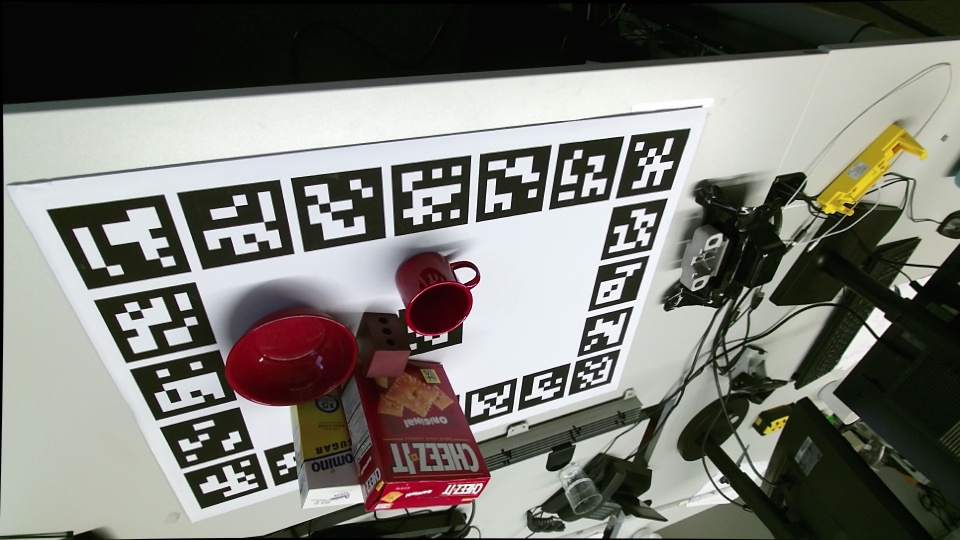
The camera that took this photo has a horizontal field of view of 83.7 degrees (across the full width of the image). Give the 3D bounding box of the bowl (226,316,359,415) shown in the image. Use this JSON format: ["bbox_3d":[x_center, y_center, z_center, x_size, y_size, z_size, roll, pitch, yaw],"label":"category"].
[{"bbox_3d":[-0.242,0.113,0.687,0.162,0.055,0.162,-14,129,-18],"label":"bowl"}]

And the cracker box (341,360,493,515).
[{"bbox_3d":[-0.096,0.232,0.764,0.165,0.213,0.072,17,117,-36],"label":"cracker box"}]

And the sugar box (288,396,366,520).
[{"bbox_3d":[-0.206,0.253,0.746,0.093,0.176,0.045,8,120,-33],"label":"sugar box"}]

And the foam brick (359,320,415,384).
[{"bbox_3d":[-0.132,0.114,0.750,0.053,0.078,0.051,2,124,-30],"label":"foam brick"}]

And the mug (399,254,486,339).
[{"bbox_3d":[-0.046,0.030,0.716,0.117,0.081,0.093,-20,140,-16],"label":"mug"}]
